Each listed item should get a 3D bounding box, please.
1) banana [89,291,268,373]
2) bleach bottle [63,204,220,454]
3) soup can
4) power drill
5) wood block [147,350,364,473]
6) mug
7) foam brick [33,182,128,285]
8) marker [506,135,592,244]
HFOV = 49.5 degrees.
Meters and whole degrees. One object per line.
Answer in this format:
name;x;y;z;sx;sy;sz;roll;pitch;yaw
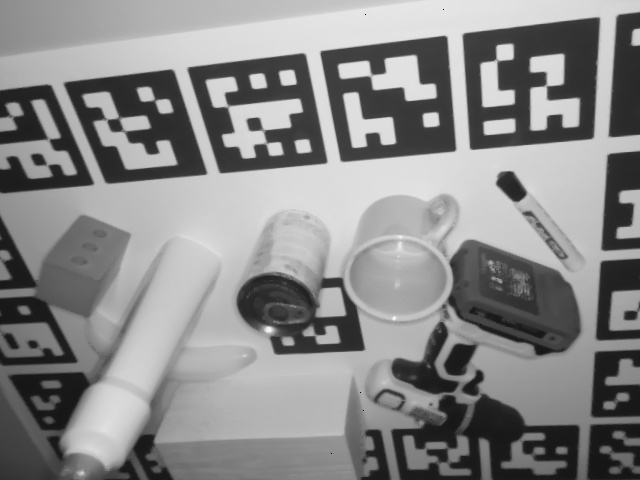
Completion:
banana;-0.154;0.106;0.735;0.197;0.039;0.073;10;110;4
bleach bottle;-0.151;0.074;0.589;0.068;0.253;0.101;21;125;-5
soup can;-0.025;0.003;0.608;0.068;0.103;0.067;5;128;7
power drill;0.155;0.093;0.682;0.185;0.058;0.184;22;124;-3
wood block;-0.064;0.187;0.749;0.205;0.092;0.089;-5;121;11
mug;0.082;-0.016;0.599;0.093;0.082;0.115;34;118;-11
foam brick;-0.224;-0.007;0.652;0.053;0.079;0.050;24;125;-10
marker;0.200;-0.044;0.606;0.019;0.020;0.121;-33;112;23
